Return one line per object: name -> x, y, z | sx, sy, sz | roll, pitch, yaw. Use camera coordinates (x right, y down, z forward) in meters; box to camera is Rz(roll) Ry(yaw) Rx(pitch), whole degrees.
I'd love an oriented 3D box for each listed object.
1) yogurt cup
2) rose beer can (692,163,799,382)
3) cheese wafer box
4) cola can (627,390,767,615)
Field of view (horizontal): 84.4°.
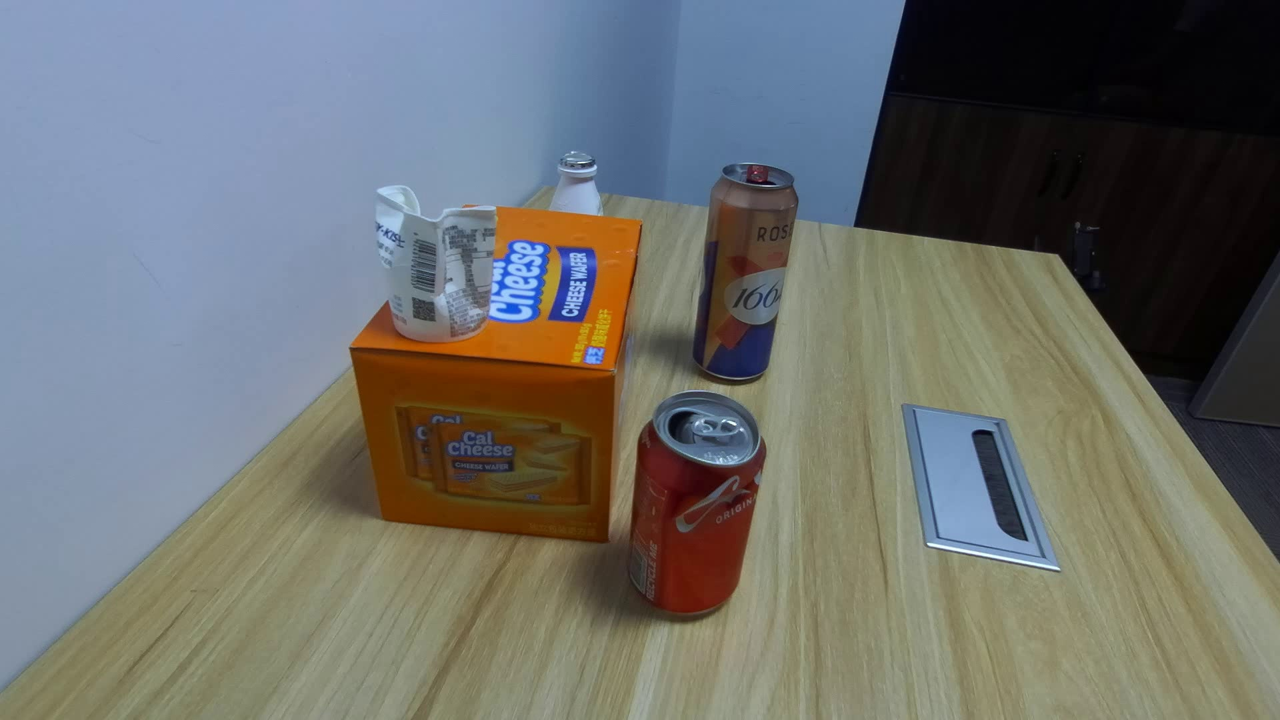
yogurt cup -> -0.110, -0.052, 0.381 | 0.055, 0.072, 0.054 | -21, 41, -35
rose beer can -> 0.083, -0.066, 0.570 | 0.069, 0.169, 0.068 | 4, 30, -2
cheese wafer box -> -0.080, -0.004, 0.494 | 0.148, 0.129, 0.221 | 6, 32, 1
cola can -> 0.030, 0.077, 0.386 | 0.072, 0.117, 0.065 | -17, 37, -30
